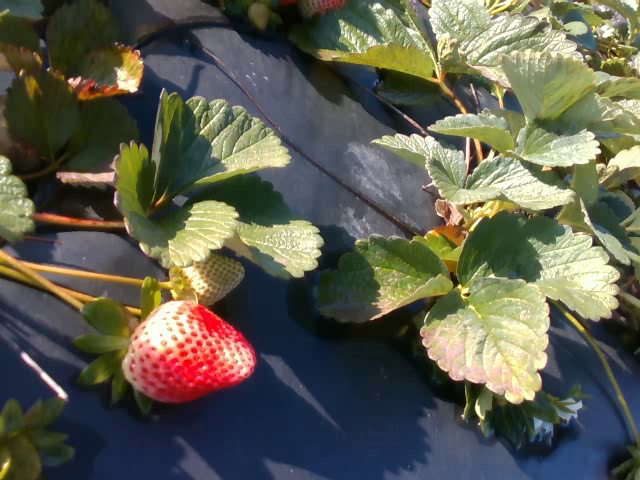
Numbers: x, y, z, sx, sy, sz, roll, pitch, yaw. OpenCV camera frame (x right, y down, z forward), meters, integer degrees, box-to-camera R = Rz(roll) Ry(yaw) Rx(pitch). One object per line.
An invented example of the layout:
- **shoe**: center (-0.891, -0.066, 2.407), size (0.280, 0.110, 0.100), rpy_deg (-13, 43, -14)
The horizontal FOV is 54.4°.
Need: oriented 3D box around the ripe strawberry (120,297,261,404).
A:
- **ripe strawberry**: center (-0.036, 0.033, 0.181), size (0.045, 0.037, 0.042), rpy_deg (0, 13, 27)
